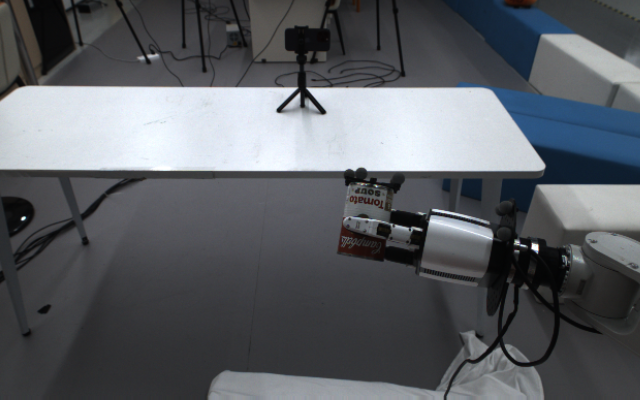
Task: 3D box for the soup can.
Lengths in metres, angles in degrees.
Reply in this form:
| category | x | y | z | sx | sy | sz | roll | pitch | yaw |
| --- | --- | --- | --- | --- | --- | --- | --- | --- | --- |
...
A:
| category | x | y | z | sx | sy | sz | roll | pitch | yaw |
| --- | --- | --- | --- | --- | --- | --- | --- | --- | --- |
| soup can | 0.066 | 0.030 | 0.684 | 0.067 | 0.101 | 0.067 | 9 | -5 | 1 |
